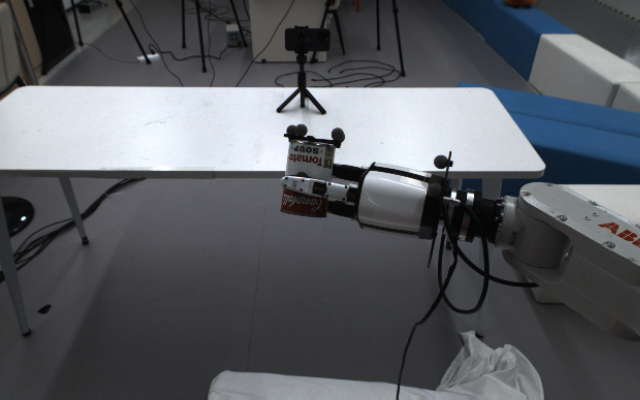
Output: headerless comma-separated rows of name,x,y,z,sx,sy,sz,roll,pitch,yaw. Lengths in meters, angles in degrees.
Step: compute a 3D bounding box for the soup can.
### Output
soup can,-0.016,-0.030,0.687,0.067,0.101,0.067,7,4,0
